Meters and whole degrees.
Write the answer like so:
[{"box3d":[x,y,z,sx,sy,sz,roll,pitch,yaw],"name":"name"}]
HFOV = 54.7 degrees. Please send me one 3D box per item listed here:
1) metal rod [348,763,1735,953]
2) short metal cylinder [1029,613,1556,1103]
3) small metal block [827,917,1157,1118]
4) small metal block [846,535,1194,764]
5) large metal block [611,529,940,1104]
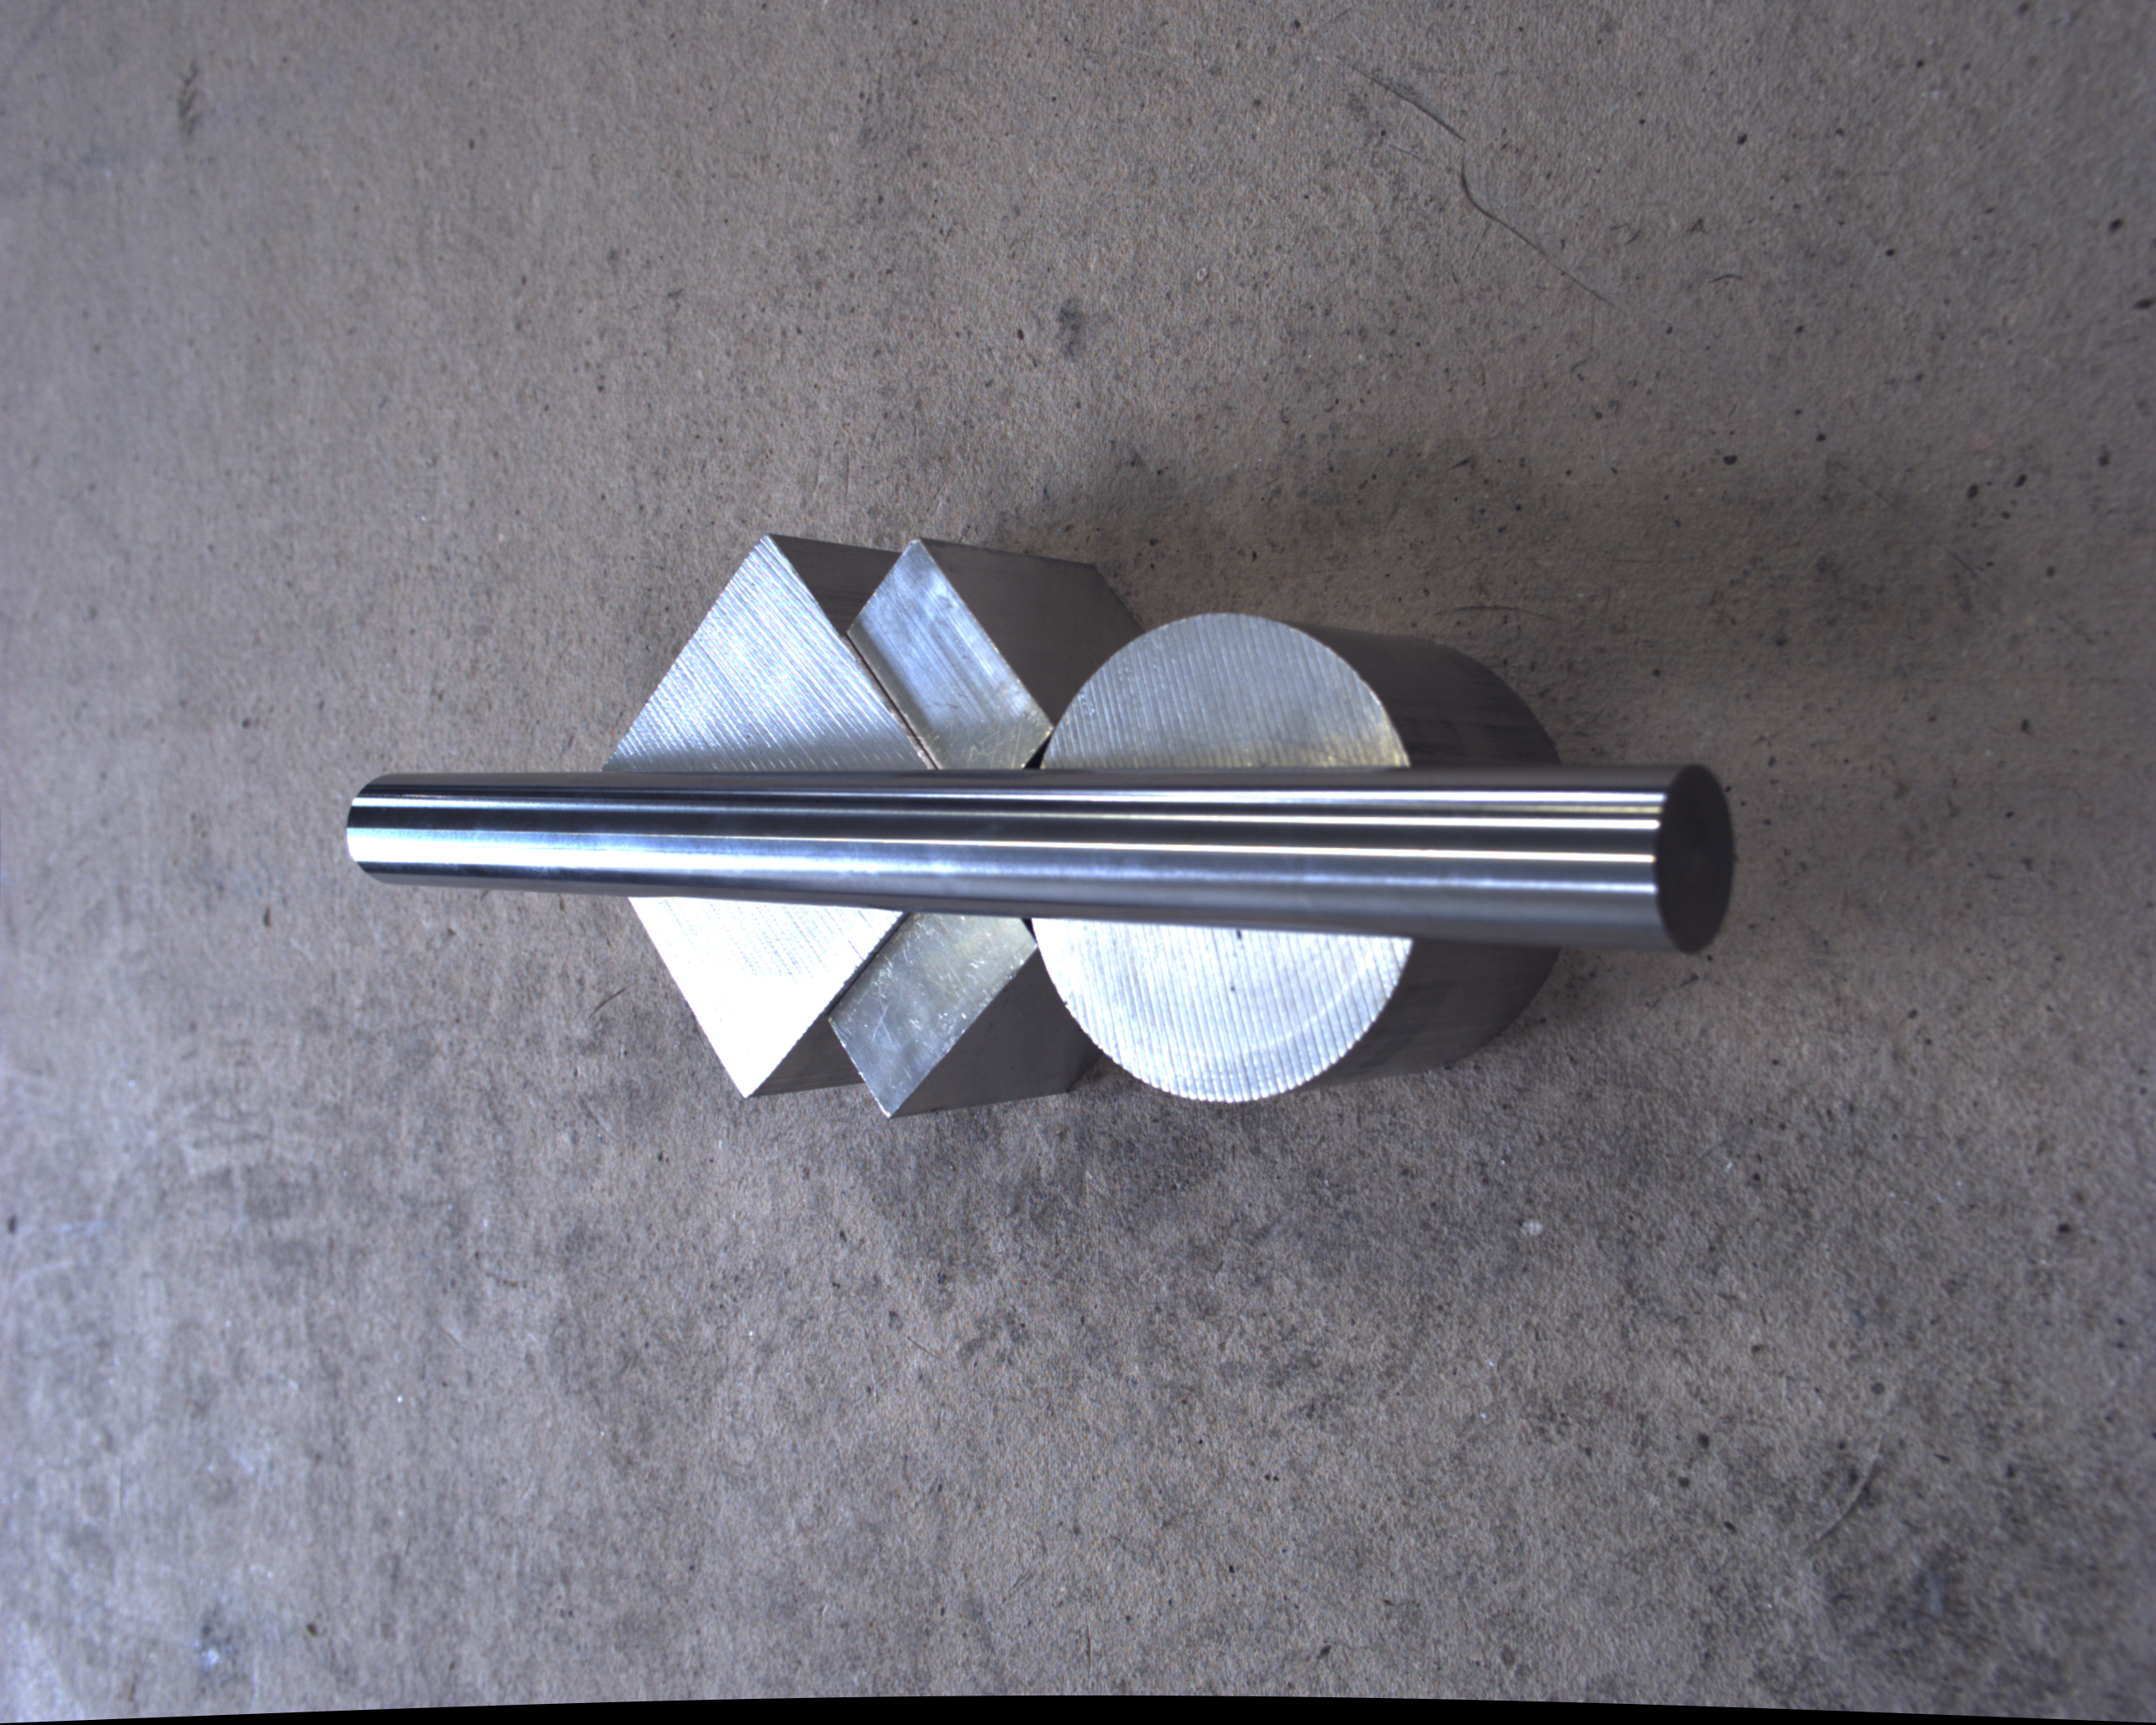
[{"box3d":[-0.035,-0.004,0.367,0.300,0.025,0.025,2,91,40],"name":"metal rod"},{"box3d":[0.037,-0.001,0.359,0.080,0.050,0.080,0,90,40],"name":"short metal cylinder"},{"box3d":[-0.011,0.021,0.401,0.050,0.050,0.025,-50,61,28],"name":"small metal block"},{"box3d":[-0.008,-0.033,0.397,0.025,0.050,0.050,-50,61,28],"name":"small metal block"},{"box3d":[-0.046,-0.009,0.426,0.080,0.050,0.080,-49,61,28],"name":"large metal block"}]
